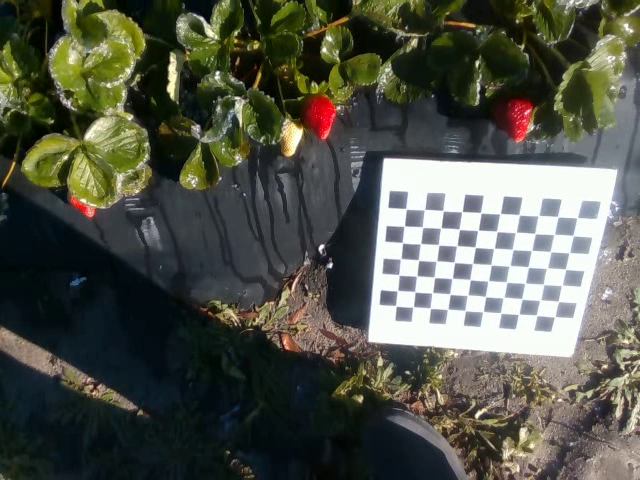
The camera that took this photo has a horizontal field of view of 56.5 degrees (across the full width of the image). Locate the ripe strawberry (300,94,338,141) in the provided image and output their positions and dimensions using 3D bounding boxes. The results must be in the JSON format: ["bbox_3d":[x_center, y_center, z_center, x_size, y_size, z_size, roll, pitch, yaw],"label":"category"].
[{"bbox_3d":[0.002,-0.144,0.716,0.042,0.061,0.046,-10,-20,8],"label":"ripe strawberry"}]

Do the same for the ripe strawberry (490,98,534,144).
[{"bbox_3d":[0.229,-0.140,0.697,0.048,0.061,0.044,-3,-10,5],"label":"ripe strawberry"}]
